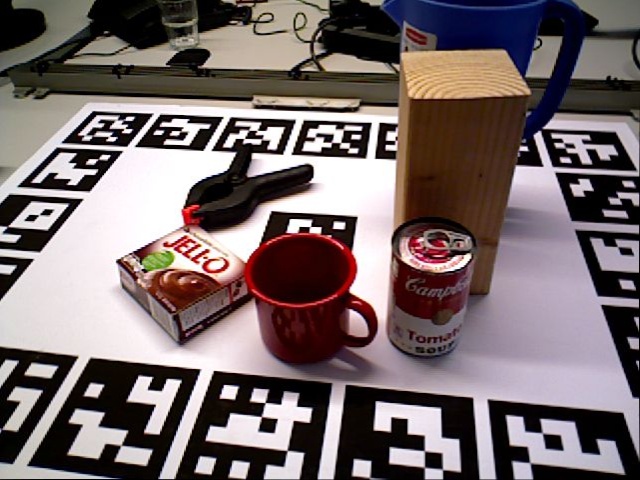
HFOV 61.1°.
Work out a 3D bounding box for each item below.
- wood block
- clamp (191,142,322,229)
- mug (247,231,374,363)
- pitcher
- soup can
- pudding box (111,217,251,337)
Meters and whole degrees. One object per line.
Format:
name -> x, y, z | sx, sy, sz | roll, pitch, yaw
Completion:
wood block -> 0.119, -0.058, 0.474 | 0.089, 0.211, 0.089 | 5, 40, 4
clamp -> -0.090, -0.063, 0.645 | 0.122, 0.037, 0.161 | 31, 51, 24
mug -> -0.004, 0.053, 0.452 | 0.091, 0.083, 0.117 | -32, 46, -33
pitcher -> 0.161, -0.144, 0.549 | 0.189, 0.247, 0.130 | 2, 38, 10
soup can -> 0.091, 0.038, 0.444 | 0.068, 0.104, 0.067 | -2, 42, 1
pudding box -> -0.135, 0.032, 0.526 | 0.088, 0.039, 0.114 | -35, 48, -28
